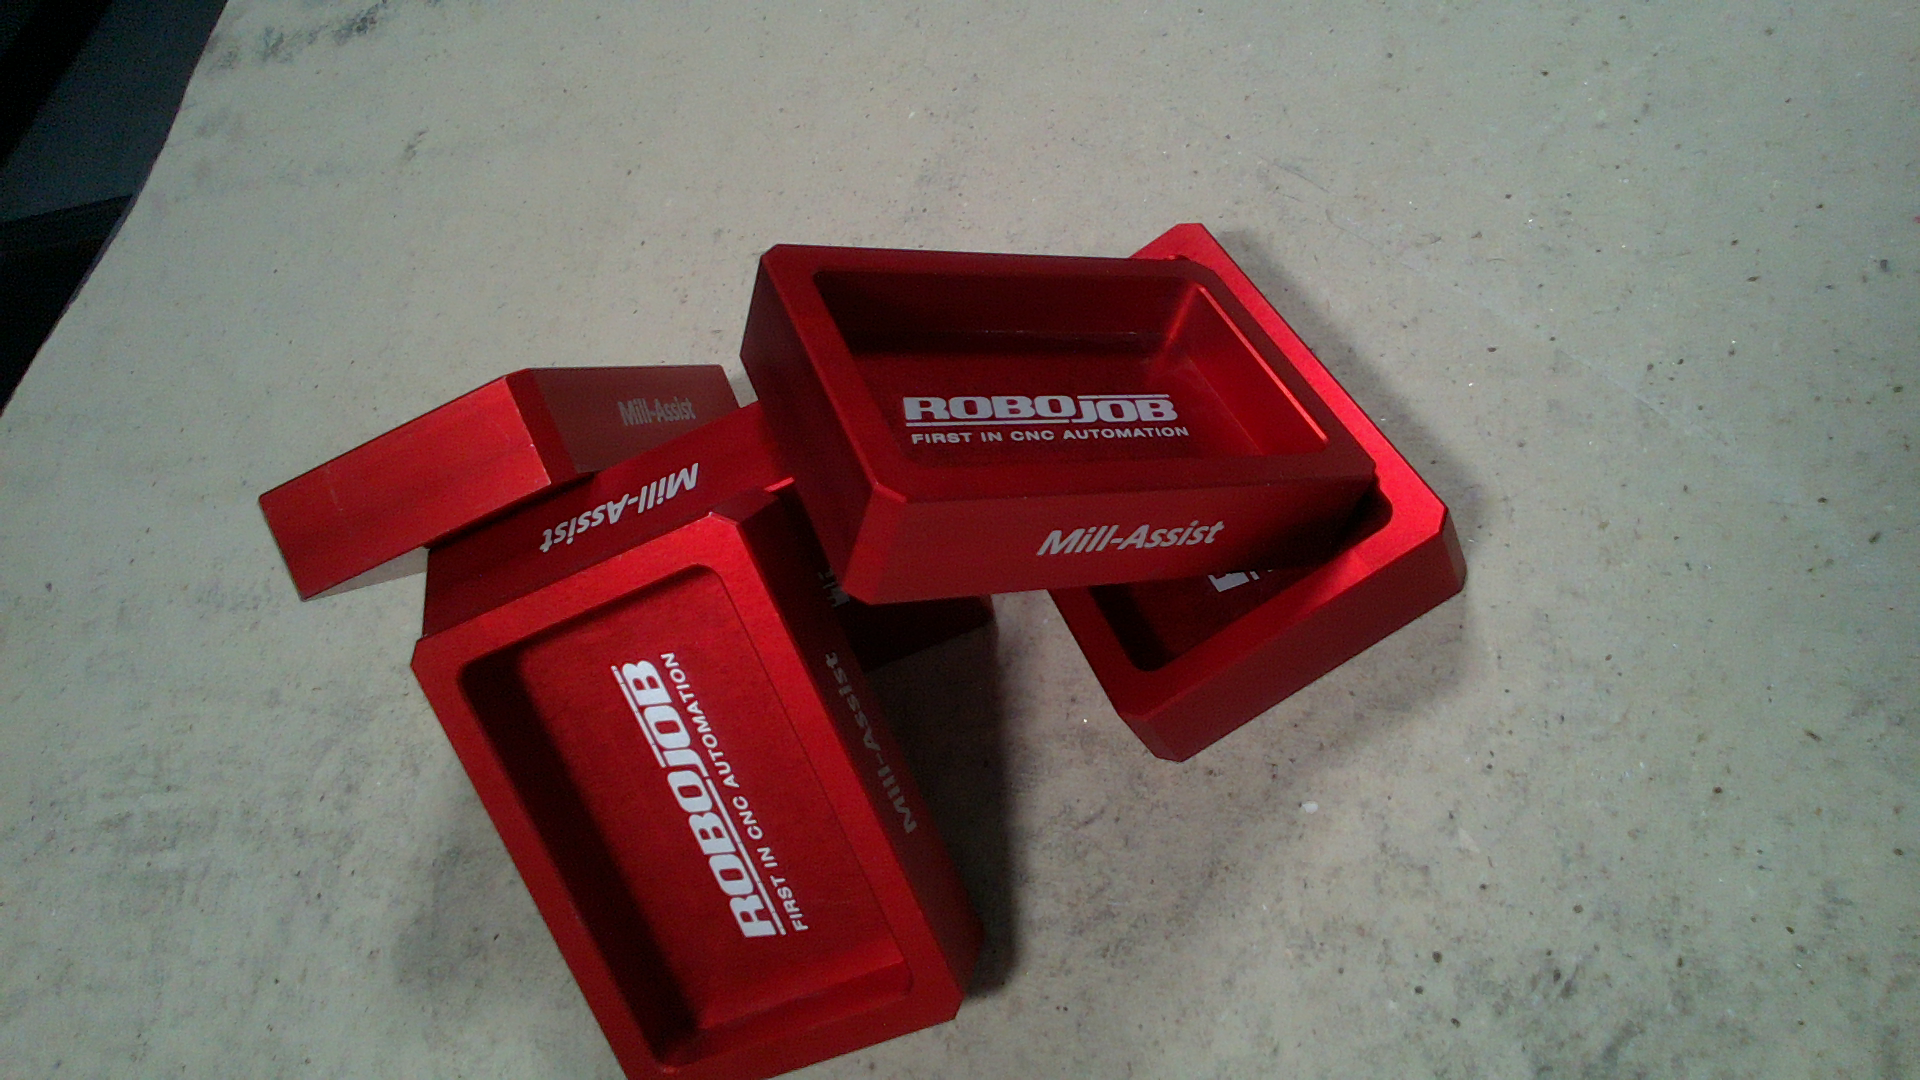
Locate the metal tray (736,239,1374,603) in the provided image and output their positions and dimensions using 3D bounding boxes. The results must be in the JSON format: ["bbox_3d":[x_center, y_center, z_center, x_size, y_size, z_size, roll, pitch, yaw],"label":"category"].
[{"bbox_3d":[0.022,-0.032,0.329,0.130,0.030,0.090,-4,46,-28],"label":"metal tray"}]

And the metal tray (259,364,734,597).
[{"bbox_3d":[-0.129,-0.022,0.416,0.090,0.130,0.030,-22,92,15],"label":"metal tray"}]

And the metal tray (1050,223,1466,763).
[{"bbox_3d":[0.059,-0.018,0.370,0.090,0.030,0.130,-33,51,7],"label":"metal tray"}]

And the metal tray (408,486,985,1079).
[{"bbox_3d":[-0.061,0.064,0.331,0.090,0.030,0.130,-23,98,15],"label":"metal tray"}]

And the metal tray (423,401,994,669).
[{"bbox_3d":[-0.068,0.013,0.380,0.130,0.090,0.030,-23,53,15],"label":"metal tray"}]
